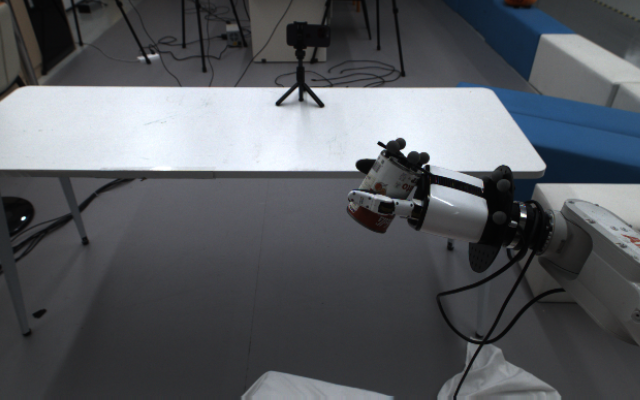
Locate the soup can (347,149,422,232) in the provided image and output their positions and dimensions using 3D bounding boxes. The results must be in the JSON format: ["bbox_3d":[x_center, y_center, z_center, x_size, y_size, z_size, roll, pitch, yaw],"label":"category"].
[{"bbox_3d":[0.092,-0.013,0.695,0.067,0.101,0.067,27,18,-10],"label":"soup can"}]
